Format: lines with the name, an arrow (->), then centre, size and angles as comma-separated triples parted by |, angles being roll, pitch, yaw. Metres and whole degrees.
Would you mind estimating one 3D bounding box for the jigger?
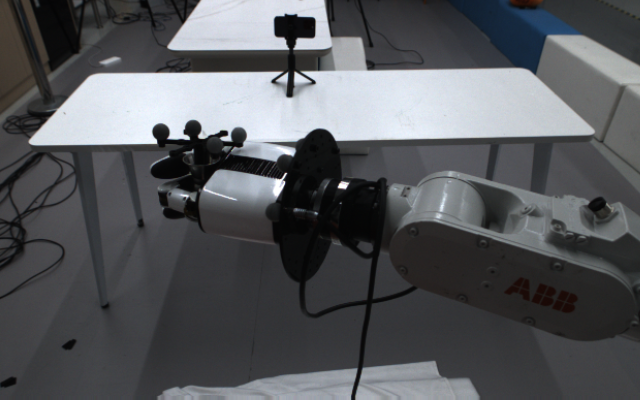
jigger -> -0.125, -0.015, 0.543 | 0.043, 0.071, 0.043 | 3, 25, -1
